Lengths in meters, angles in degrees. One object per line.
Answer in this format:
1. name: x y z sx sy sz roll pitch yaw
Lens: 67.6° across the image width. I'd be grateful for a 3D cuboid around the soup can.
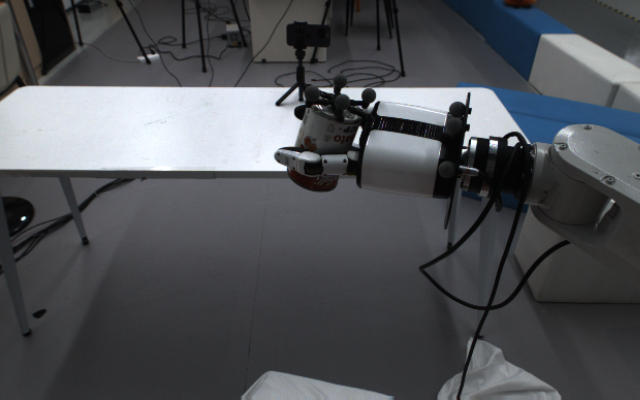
1. soup can: 0.006 -0.069 0.588 0.067 0.101 0.067 14 35 -10
